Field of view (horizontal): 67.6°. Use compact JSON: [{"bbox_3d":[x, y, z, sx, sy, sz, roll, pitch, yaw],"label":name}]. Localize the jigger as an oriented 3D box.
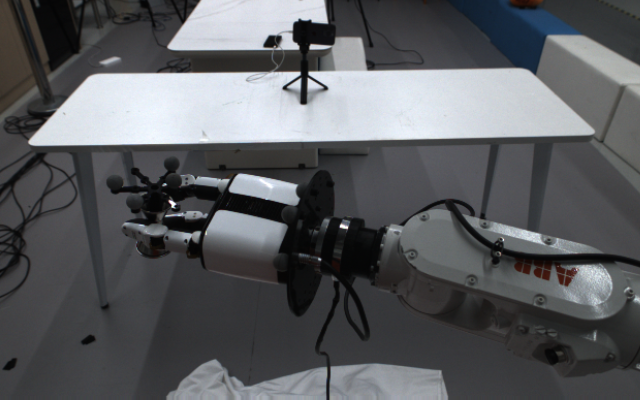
[{"bbox_3d":[-0.191,0.028,0.564,0.043,0.071,0.043,10,36,-7],"label":"jigger"}]
